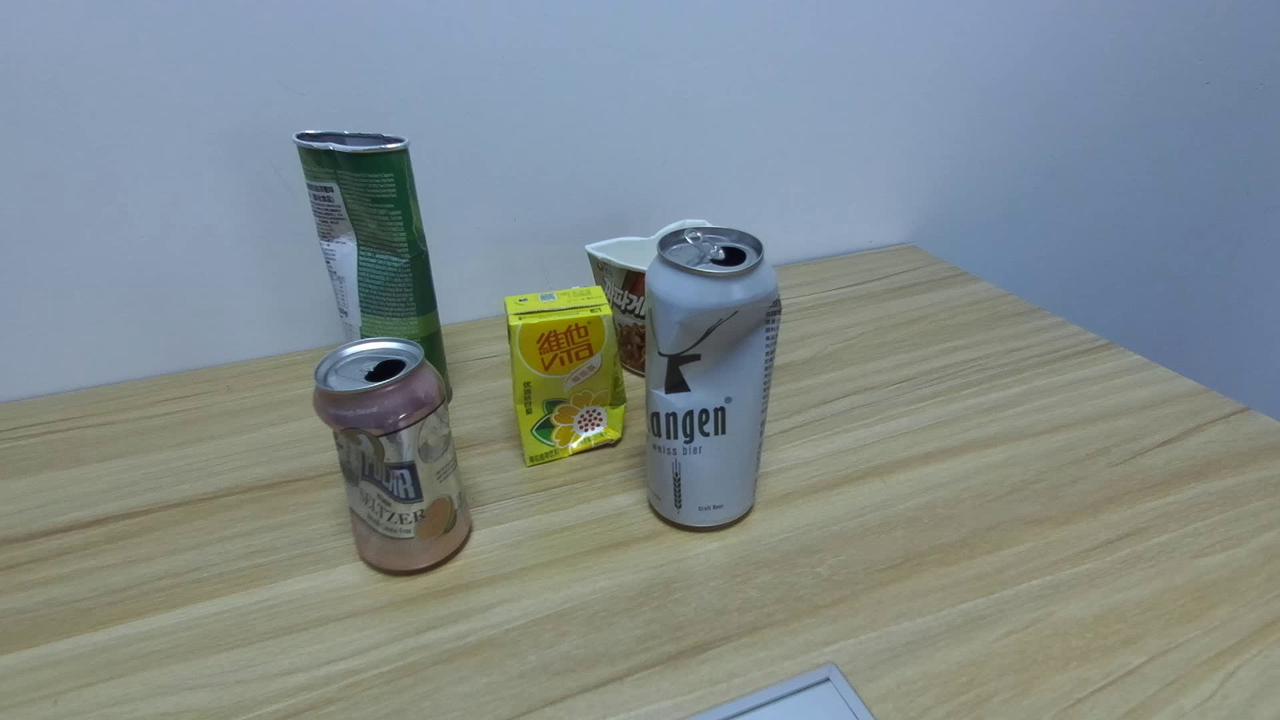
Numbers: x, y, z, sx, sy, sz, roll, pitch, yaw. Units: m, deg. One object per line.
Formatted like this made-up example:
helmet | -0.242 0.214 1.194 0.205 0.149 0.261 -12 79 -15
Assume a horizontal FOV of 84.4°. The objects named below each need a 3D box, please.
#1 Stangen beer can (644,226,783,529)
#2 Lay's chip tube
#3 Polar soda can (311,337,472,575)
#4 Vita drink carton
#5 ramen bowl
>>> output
Stangen beer can | 0.037 0.014 0.394 0.070 0.173 0.070 15 35 27
Lay's chip tube | -0.183 -0.054 0.498 0.075 0.200 0.068 -9 33 -13
Polar soda can | -0.134 0.054 0.384 0.067 0.122 0.074 -10 31 -14
Vita drink carton | -0.047 0.010 0.469 0.076 0.109 0.043 -7 32 -11
ramen bowl | 0.040 -0.039 0.512 0.114 0.097 0.133 -18 31 -27
